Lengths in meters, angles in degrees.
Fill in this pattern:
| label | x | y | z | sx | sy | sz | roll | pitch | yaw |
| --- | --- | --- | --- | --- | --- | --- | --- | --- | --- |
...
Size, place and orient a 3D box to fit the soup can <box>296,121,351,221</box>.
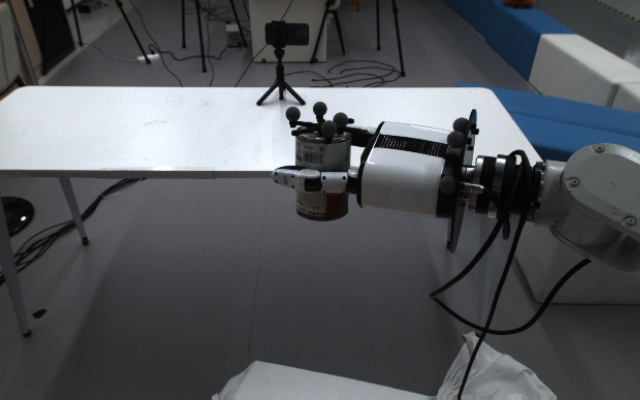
| label | x | y | z | sx | sy | sz | roll | pitch | yaw |
| --- | --- | --- | --- | --- | --- | --- | --- | --- | --- |
| soup can | 0.005 | -0.034 | 0.585 | 0.067 | 0.101 | 0.067 | 1 | 25 | 0 |
